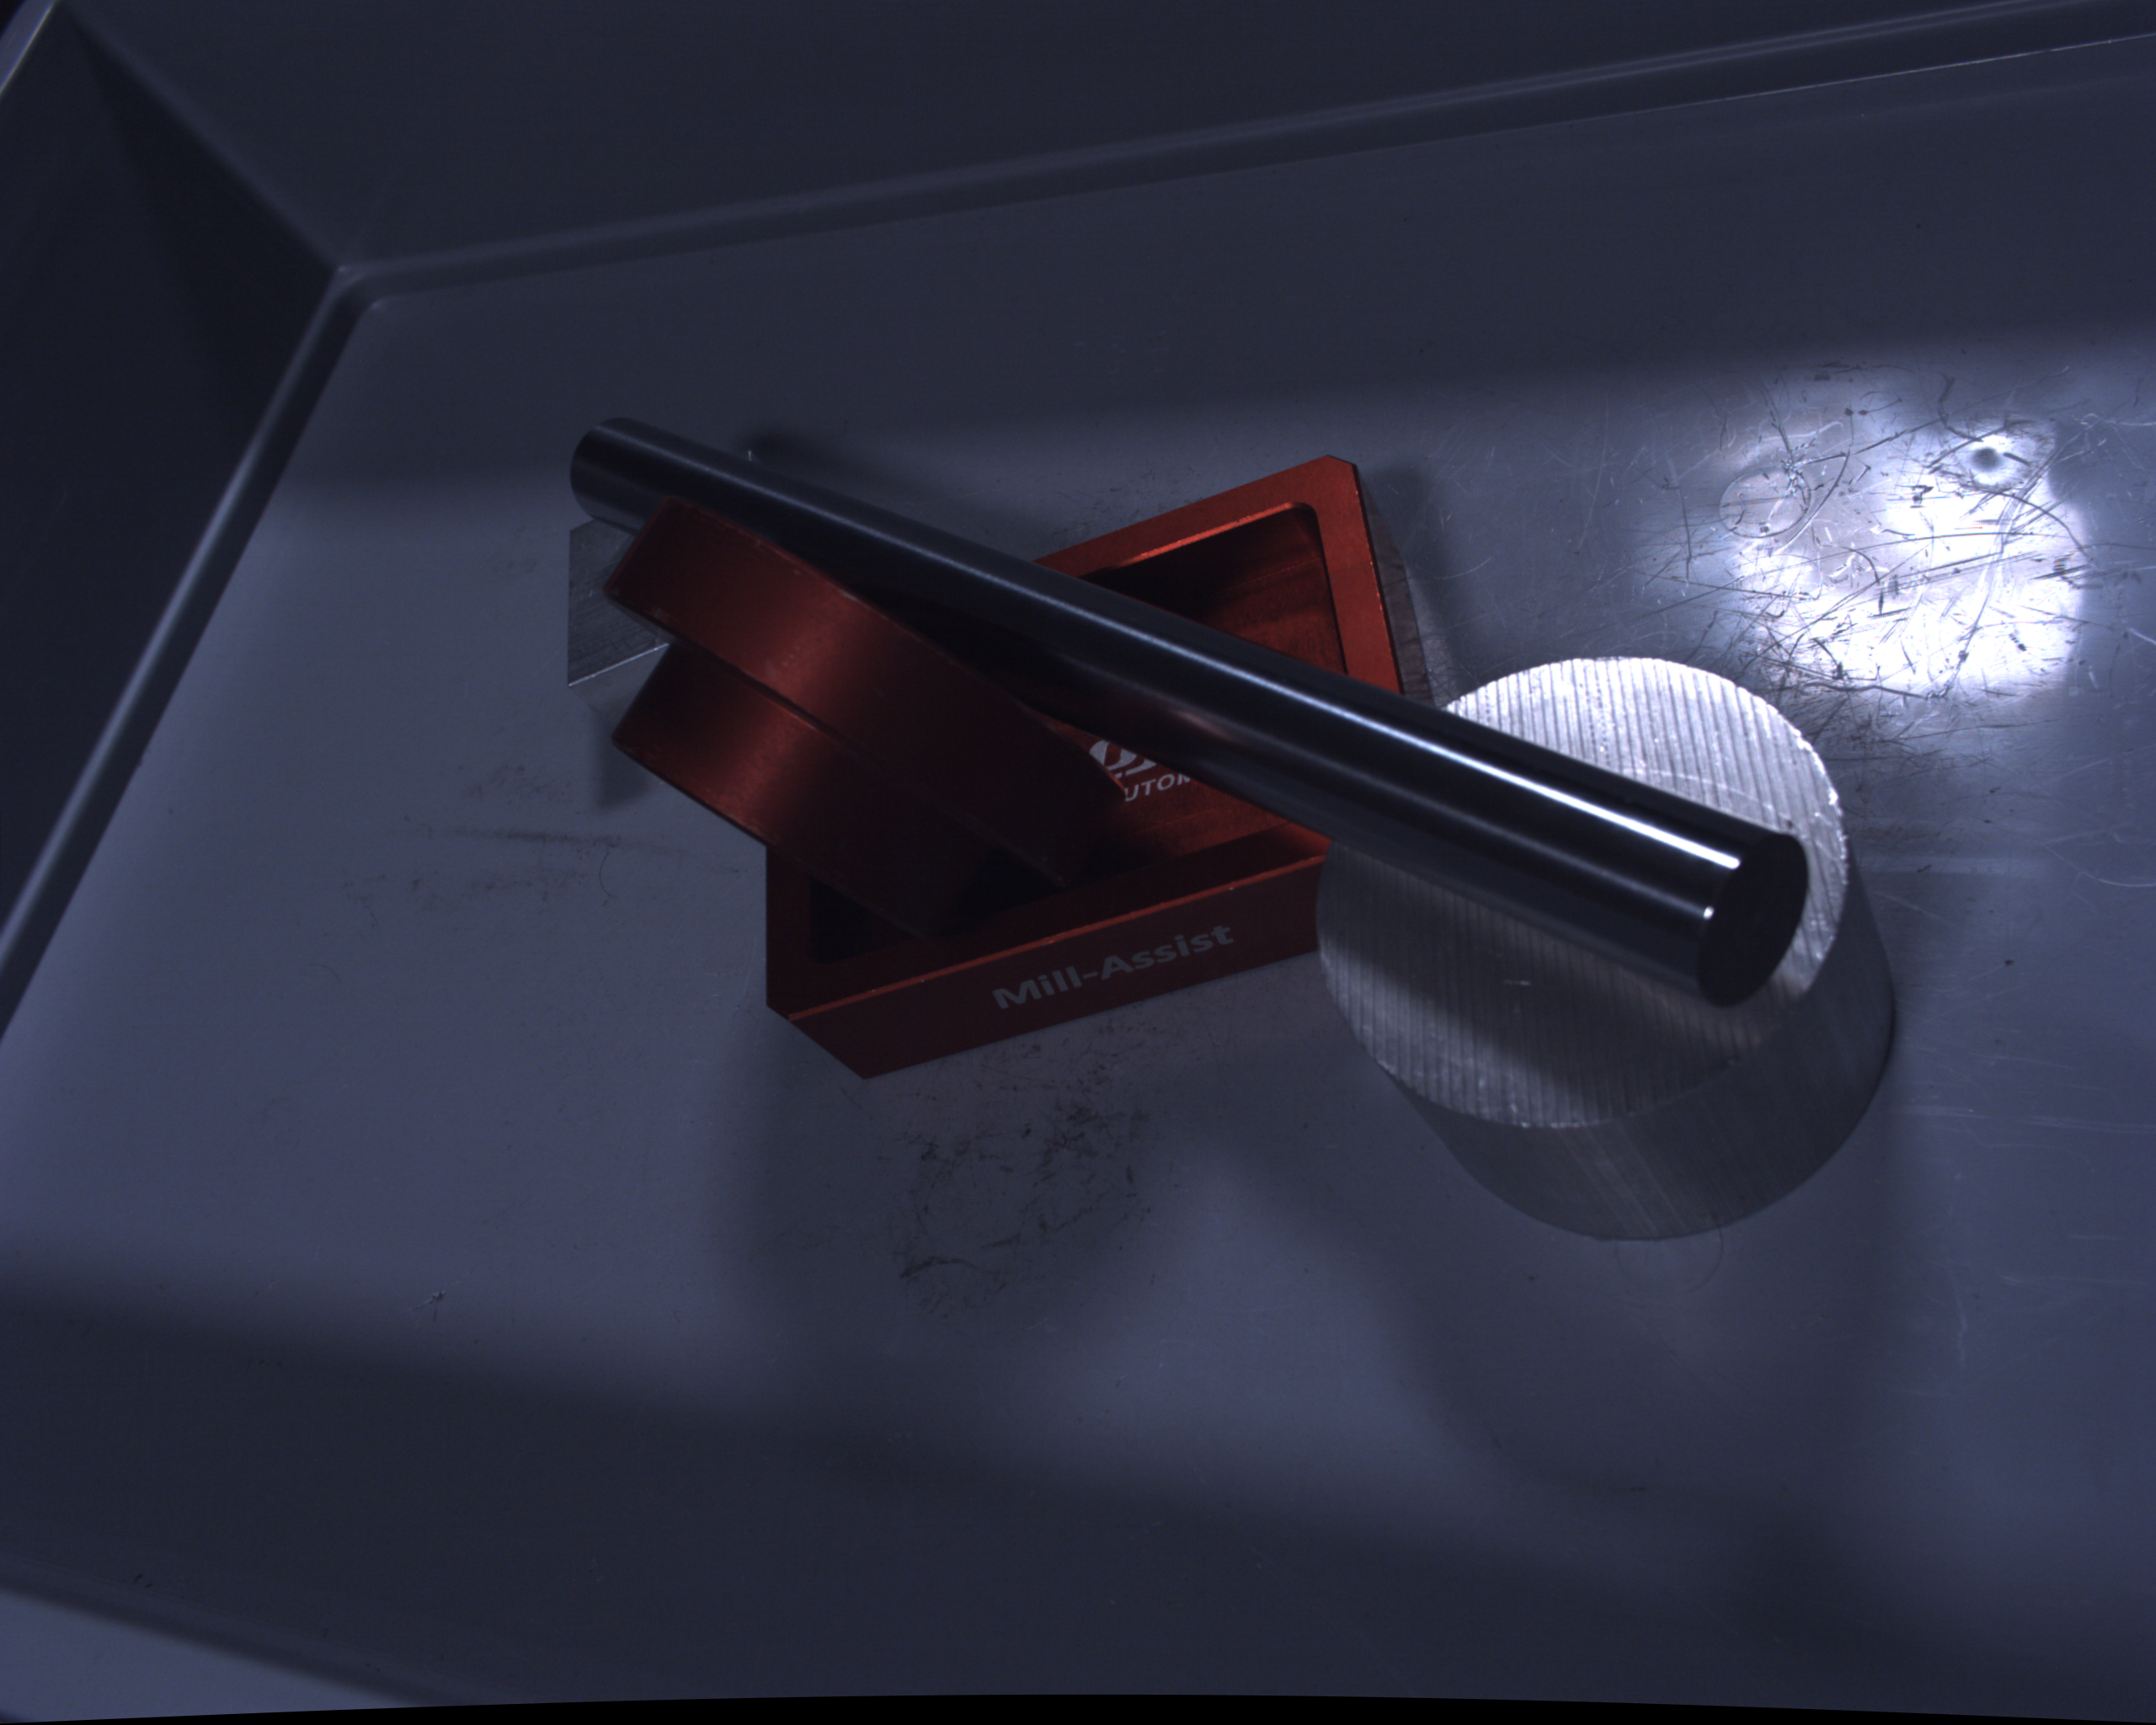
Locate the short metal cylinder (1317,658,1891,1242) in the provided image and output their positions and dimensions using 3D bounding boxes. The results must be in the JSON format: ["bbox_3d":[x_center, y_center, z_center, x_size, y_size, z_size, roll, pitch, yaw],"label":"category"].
[{"bbox_3d":[0.085,0.014,0.334,0.080,0.050,0.080,-13,56,20],"label":"short metal cylinder"}]

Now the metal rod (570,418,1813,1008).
[{"bbox_3d":[-0.008,-0.041,0.379,0.300,0.025,0.025,27,76,43],"label":"metal rod"}]

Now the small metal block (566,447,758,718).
[{"bbox_3d":[-0.091,-0.062,0.488,0.050,0.025,0.050,-20,54,16],"label":"small metal block"}]

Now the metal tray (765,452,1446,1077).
[{"bbox_3d":[0.003,-0.019,0.408,0.130,0.030,0.090,-17,55,17],"label":"metal tray"}]

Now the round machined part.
[{"bbox_3d":[-0.045,-0.021,0.375,0.098,0.098,0.042,31,87,37],"label":"round machined part"}]
